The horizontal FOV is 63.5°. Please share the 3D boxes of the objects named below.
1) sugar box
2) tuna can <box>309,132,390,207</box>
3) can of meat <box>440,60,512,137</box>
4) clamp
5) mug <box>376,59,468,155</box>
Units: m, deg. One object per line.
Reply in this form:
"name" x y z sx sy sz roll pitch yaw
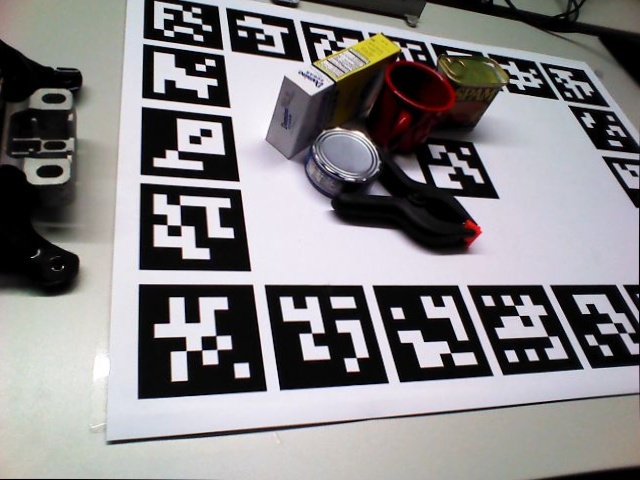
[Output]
"sugar box" 0.026 -0.163 0.607 0.045 0.093 0.175 42 51 13
"tuna can" 0.032 -0.078 0.578 0.086 0.034 0.085 9 55 -14
"can of meat" 0.199 -0.187 0.694 0.101 0.084 0.057 -6 57 -26
"clamp" 0.113 -0.028 0.580 0.165 0.037 0.121 32 47 -2
"mug" 0.117 -0.151 0.628 0.093 0.082 0.116 22 53 -5
